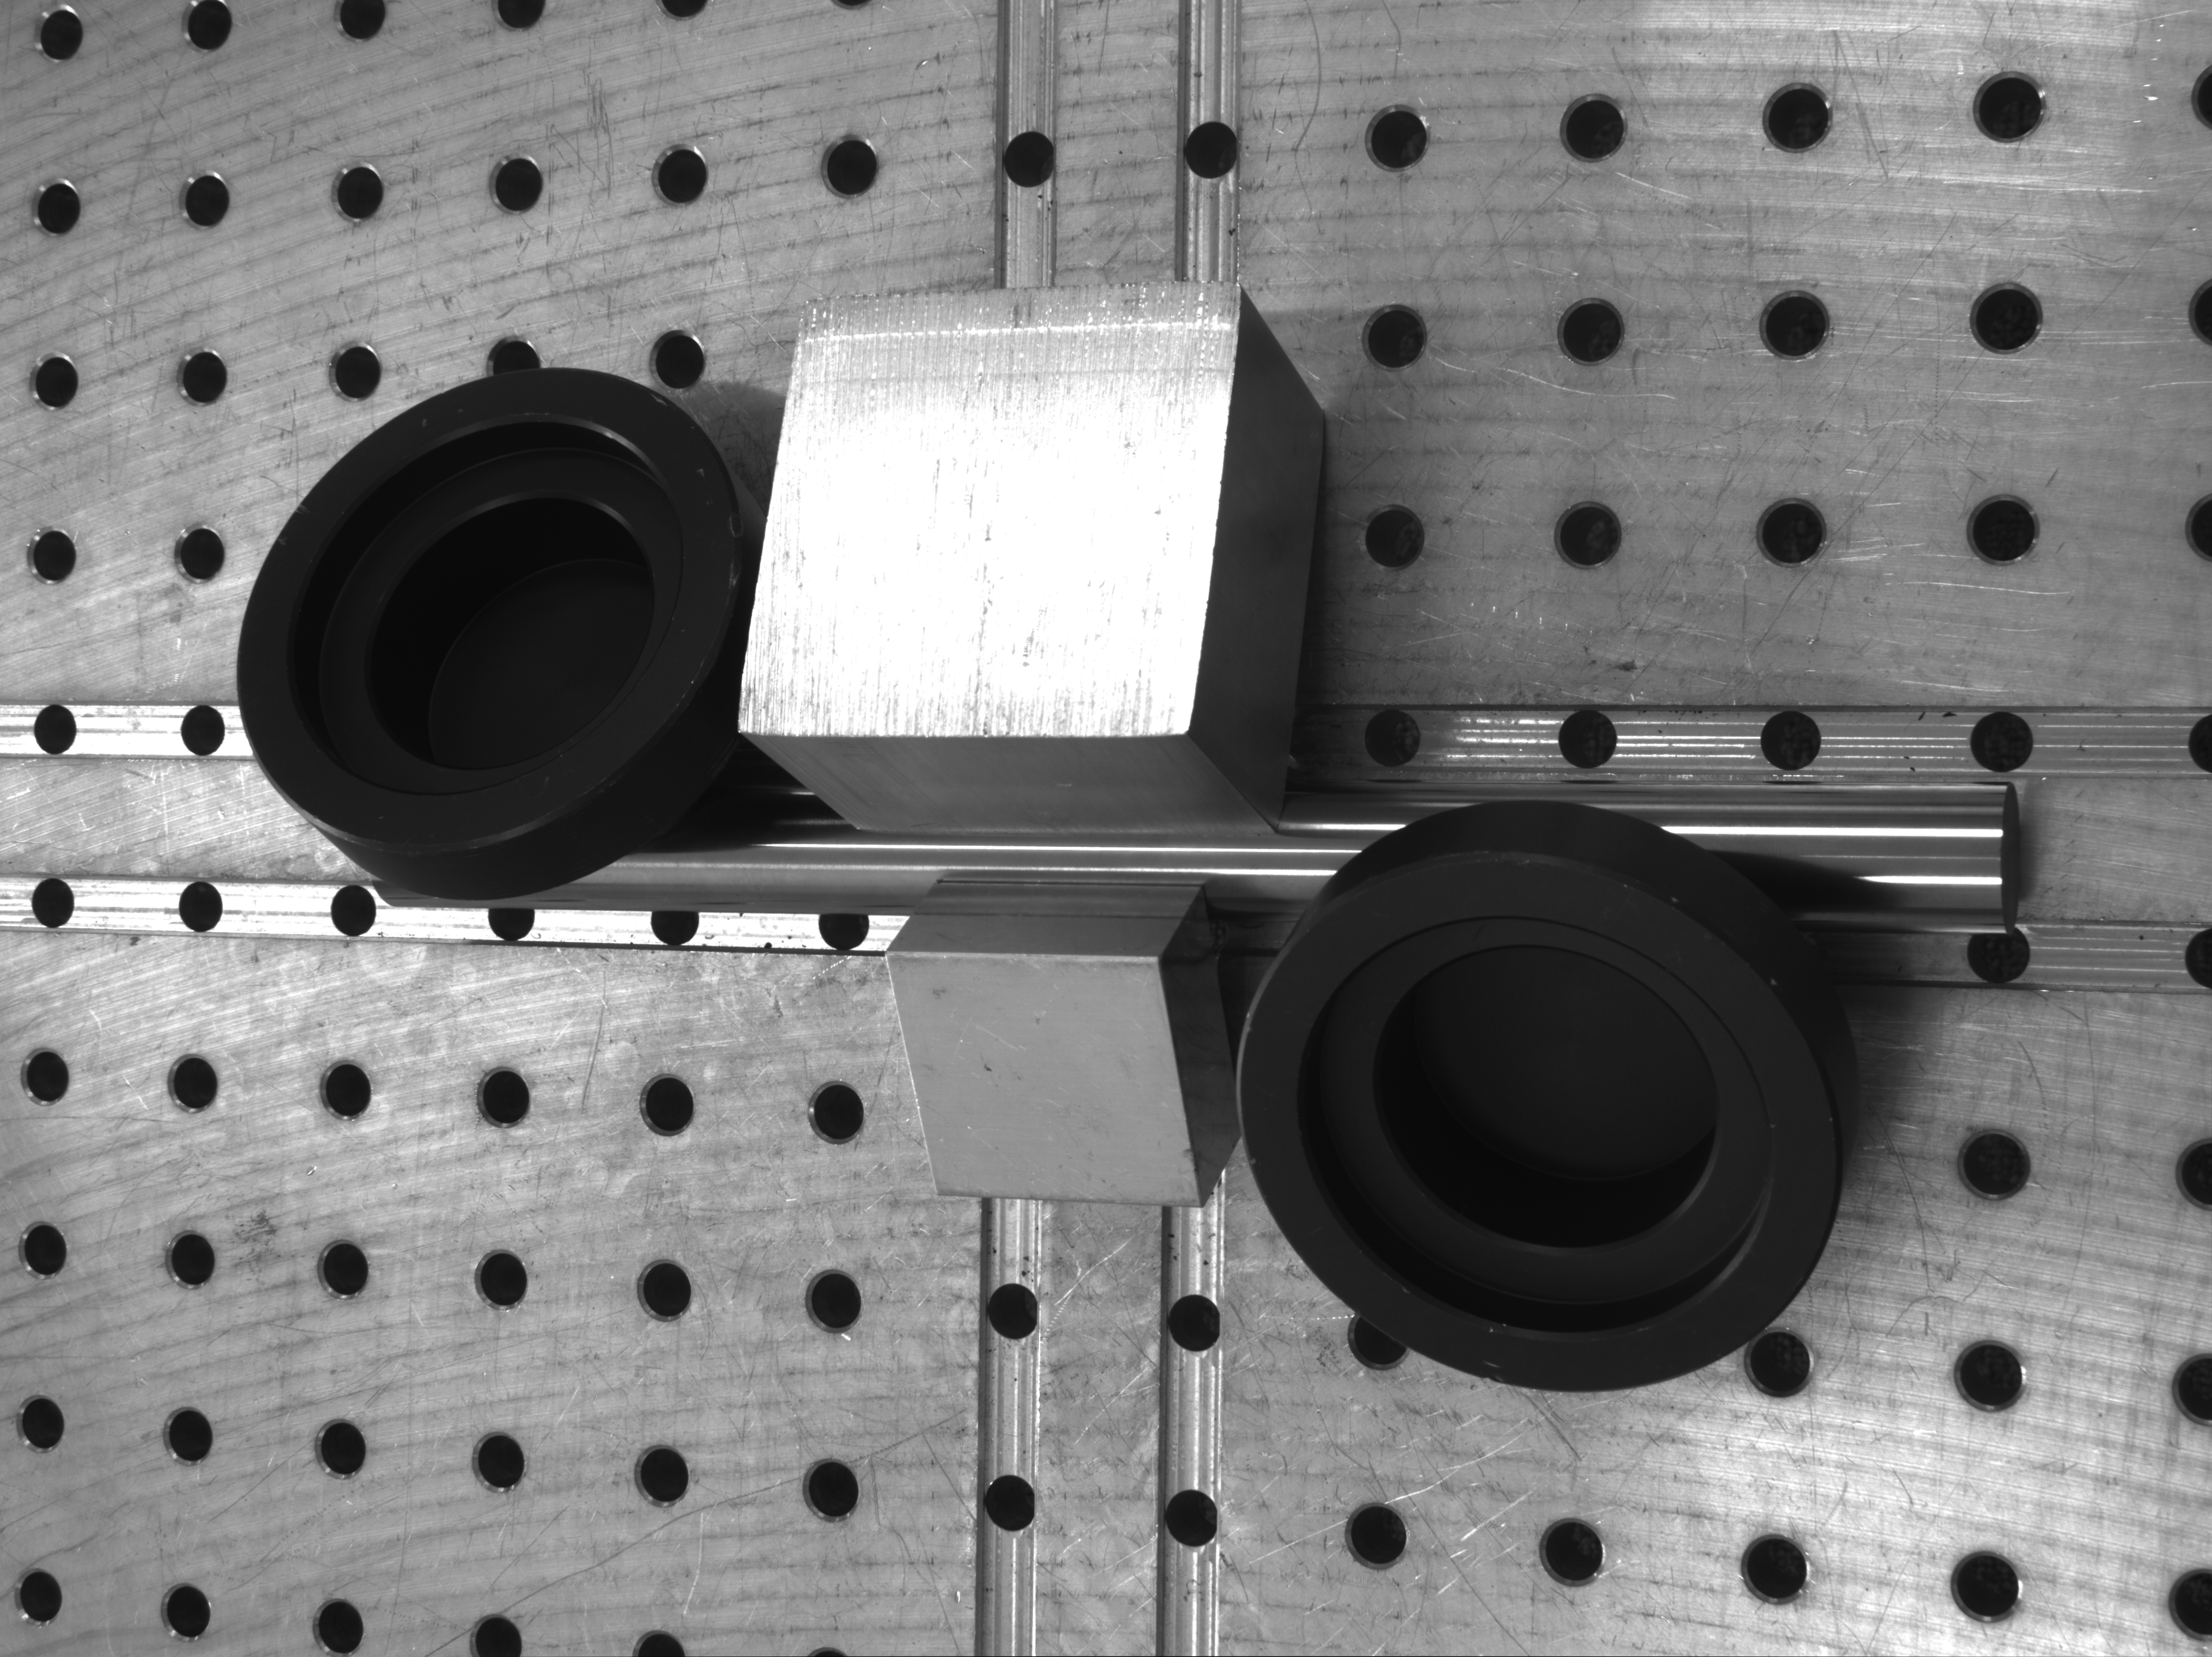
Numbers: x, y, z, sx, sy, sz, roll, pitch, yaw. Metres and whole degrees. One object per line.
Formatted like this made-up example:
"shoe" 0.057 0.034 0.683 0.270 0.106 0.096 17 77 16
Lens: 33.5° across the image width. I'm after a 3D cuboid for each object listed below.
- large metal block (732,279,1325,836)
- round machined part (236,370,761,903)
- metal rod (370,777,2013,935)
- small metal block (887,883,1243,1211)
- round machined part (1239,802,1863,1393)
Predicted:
"large metal block" -0.011 -0.045 0.628 0.080 0.050 0.080 1 72 20
"round machined part" -0.103 -0.031 0.664 0.098 0.042 0.098 -8 61 16
"metal rod" 0.006 0.004 0.648 0.299 0.025 0.025 0 90 20
"small metal block" -0.006 0.038 0.641 0.050 0.025 0.050 1 119 20
"round machined part" 0.074 0.040 0.600 0.098 0.042 0.098 8 118 16
